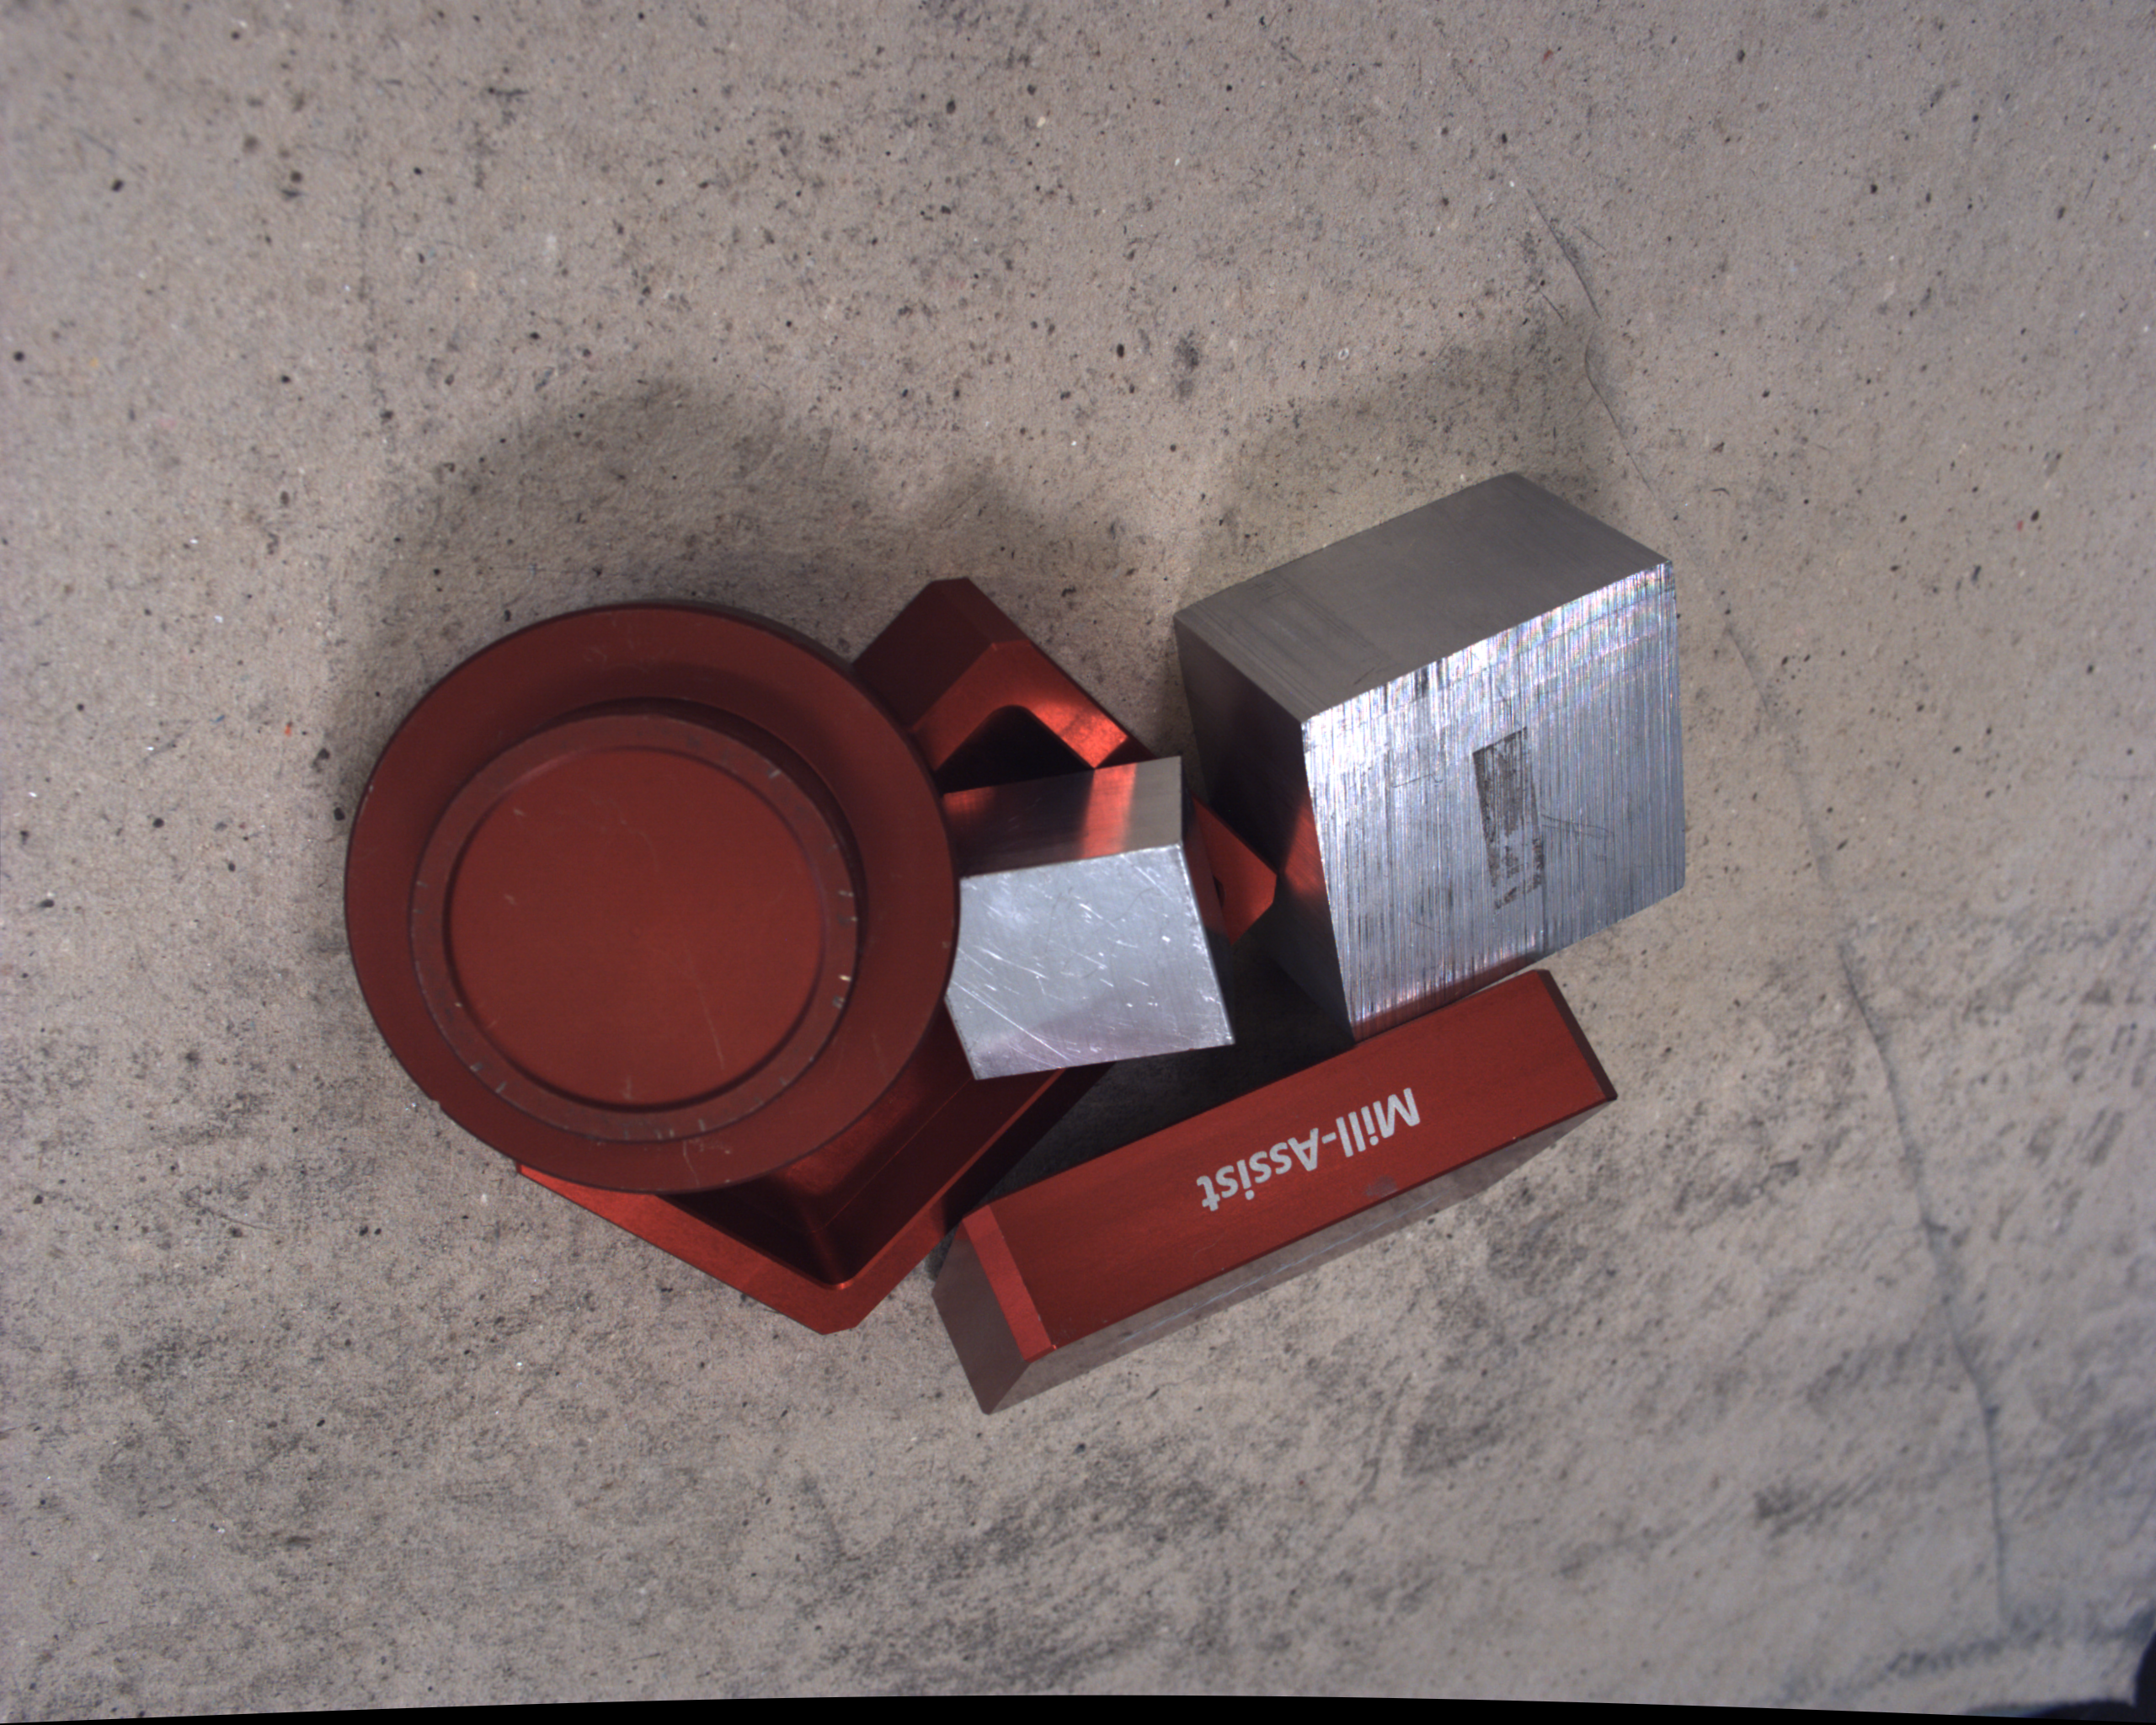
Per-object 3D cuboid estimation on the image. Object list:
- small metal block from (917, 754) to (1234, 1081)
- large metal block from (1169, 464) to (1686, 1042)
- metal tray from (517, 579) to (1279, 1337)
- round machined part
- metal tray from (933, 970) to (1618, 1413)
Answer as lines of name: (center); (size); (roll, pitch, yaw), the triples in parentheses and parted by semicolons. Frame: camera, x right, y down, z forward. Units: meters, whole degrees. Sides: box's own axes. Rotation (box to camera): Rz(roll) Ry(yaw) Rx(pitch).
small metal block: (-0.001, 0.011, 0.385); (0.050, 0.025, 0.050); (-9, 130, 10)
large metal block: (0.072, -0.022, 0.418); (0.081, 0.050, 0.080); (-24, 127, -14)
metal tray: (-0.035, 0.022, 0.398); (0.130, 0.030, 0.090); (-46, 129, 4)
round machined part: (-0.068, 0.007, 0.337); (0.099, 0.042, 0.097); (-1, 99, -4)
metal tray: (0.038, 0.071, 0.440); (0.131, 0.030, 0.090); (-21, 163, -16)
